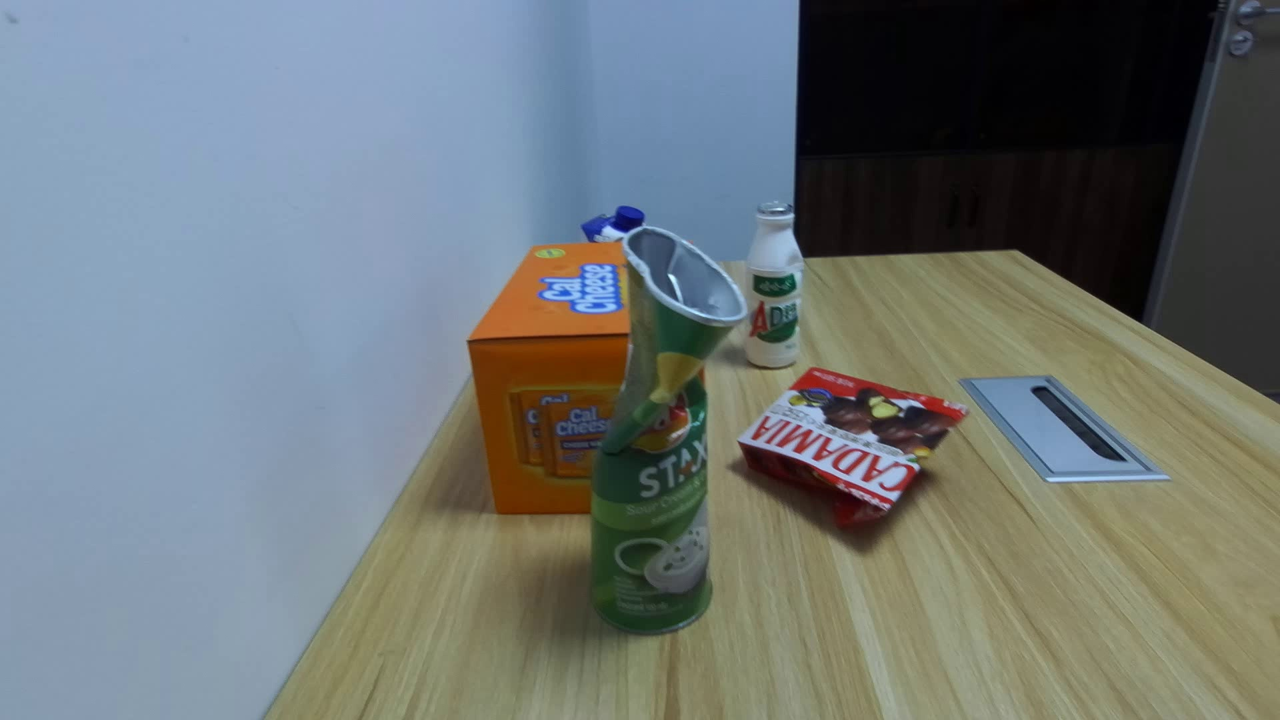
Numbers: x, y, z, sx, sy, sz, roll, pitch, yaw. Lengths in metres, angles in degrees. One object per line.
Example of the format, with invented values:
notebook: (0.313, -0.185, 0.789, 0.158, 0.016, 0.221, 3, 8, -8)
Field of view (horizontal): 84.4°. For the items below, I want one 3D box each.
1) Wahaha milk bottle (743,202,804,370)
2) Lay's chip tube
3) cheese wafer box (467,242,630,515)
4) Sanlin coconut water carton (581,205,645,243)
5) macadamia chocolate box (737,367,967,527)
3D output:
Wahaha milk bottle: (0.124, -0.063, 0.655, 0.053, 0.137, 0.053, -1, 22, 1)
Lay's chip tube: (0.012, 0.043, 0.357, 0.071, 0.199, 0.079, 11, 28, 13)
cheese wafer box: (-0.028, 0.002, 0.548, 0.148, 0.129, 0.221, 0, 23, 2)
Sanlin coconut water carton: (-0.026, -0.083, 0.717, 0.057, 0.142, 0.078, 12, 25, 20)
macadamia chocolate box: (0.139, 0.056, 0.482, 0.112, 0.056, 0.126, -22, 30, -38)
